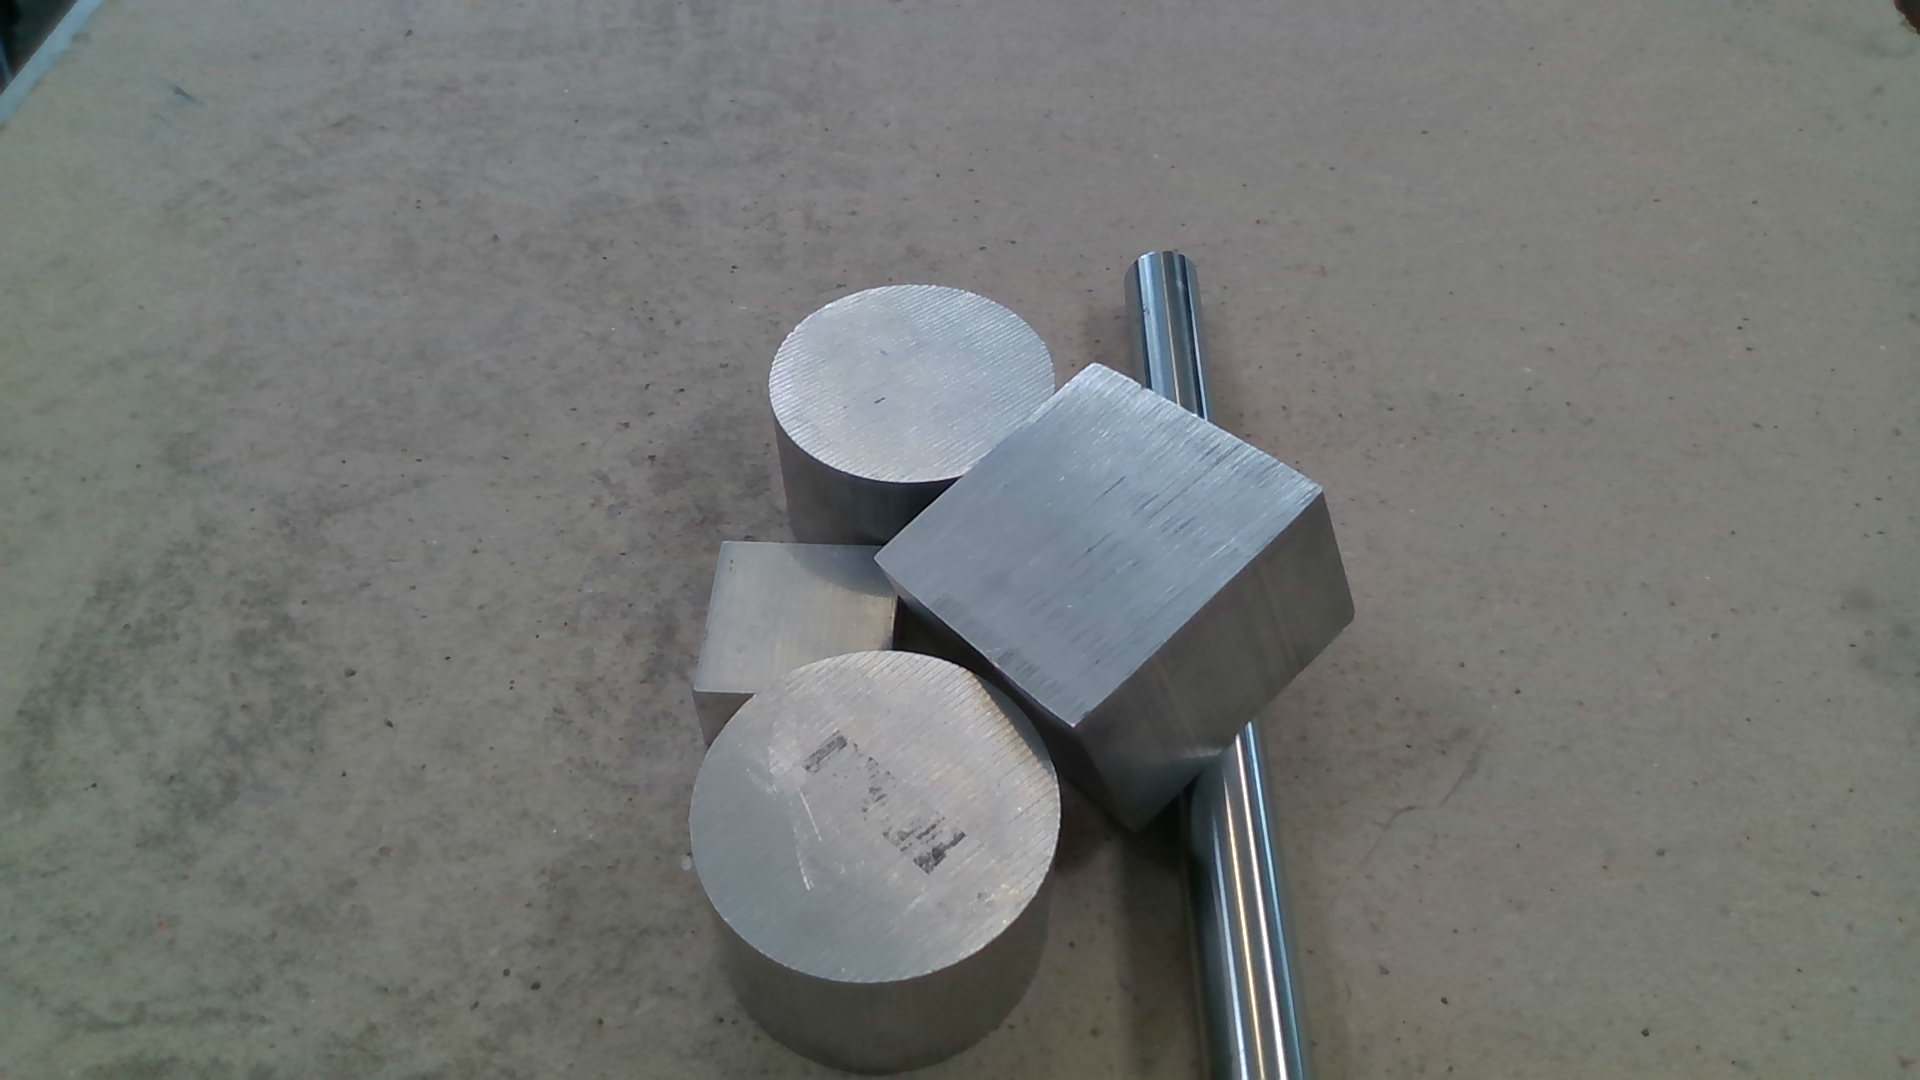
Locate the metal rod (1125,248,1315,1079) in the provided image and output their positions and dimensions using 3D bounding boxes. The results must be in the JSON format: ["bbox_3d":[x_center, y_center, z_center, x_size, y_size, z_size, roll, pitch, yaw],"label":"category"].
[{"bbox_3d":[0.066,0.026,0.372,0.025,0.025,0.299,1,50,1],"label":"metal rod"}]

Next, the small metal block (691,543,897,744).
[{"bbox_3d":[-0.042,0.029,0.371,0.050,0.025,0.050,1,50,1],"label":"small metal block"}]

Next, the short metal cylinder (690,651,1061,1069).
[{"bbox_3d":[-0.018,0.073,0.317,0.080,0.050,0.080,0,50,0],"label":"short metal cylinder"}]

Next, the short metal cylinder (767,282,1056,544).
[{"bbox_3d":[-0.013,-0.030,0.402,0.080,0.050,0.080,0,50,0],"label":"short metal cylinder"}]

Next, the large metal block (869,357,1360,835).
[{"bbox_3d":[0.038,0.011,0.345,0.080,0.050,0.080,-42,47,-11],"label":"large metal block"}]
